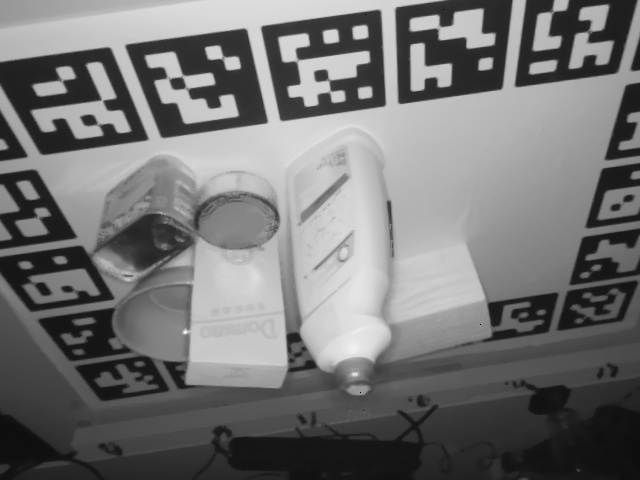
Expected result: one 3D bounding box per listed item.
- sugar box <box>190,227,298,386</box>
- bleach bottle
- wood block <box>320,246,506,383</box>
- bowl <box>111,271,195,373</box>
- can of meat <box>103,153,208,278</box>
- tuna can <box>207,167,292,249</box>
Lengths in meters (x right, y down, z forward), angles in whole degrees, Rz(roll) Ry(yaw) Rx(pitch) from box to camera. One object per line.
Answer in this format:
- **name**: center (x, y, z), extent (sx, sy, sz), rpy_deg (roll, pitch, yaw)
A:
- **sugar box**: center (-0.081, 0.063, 0.703), extent (0.094, 0.177, 0.044), rpy_deg (5, 132, -17)
- **bleach bottle**: center (0.033, 0.011, 0.619), extent (0.101, 0.252, 0.068), rpy_deg (-27, 133, 18)
- **wood block**: center (0.107, 0.090, 0.829), extent (0.206, 0.090, 0.090), rpy_deg (-14, 131, 7)
- **bowl**: center (-0.156, 0.086, 0.804), extent (0.162, 0.055, 0.160), rpy_deg (-8, 136, -6)
- **can of meat**: center (-0.158, -0.025, 0.677), extent (0.100, 0.084, 0.058), rpy_deg (-30, 134, 23)
- **tuna can**: center (-0.072, -0.033, 0.709), extent (0.086, 0.034, 0.085), rpy_deg (-5, 132, -4)
